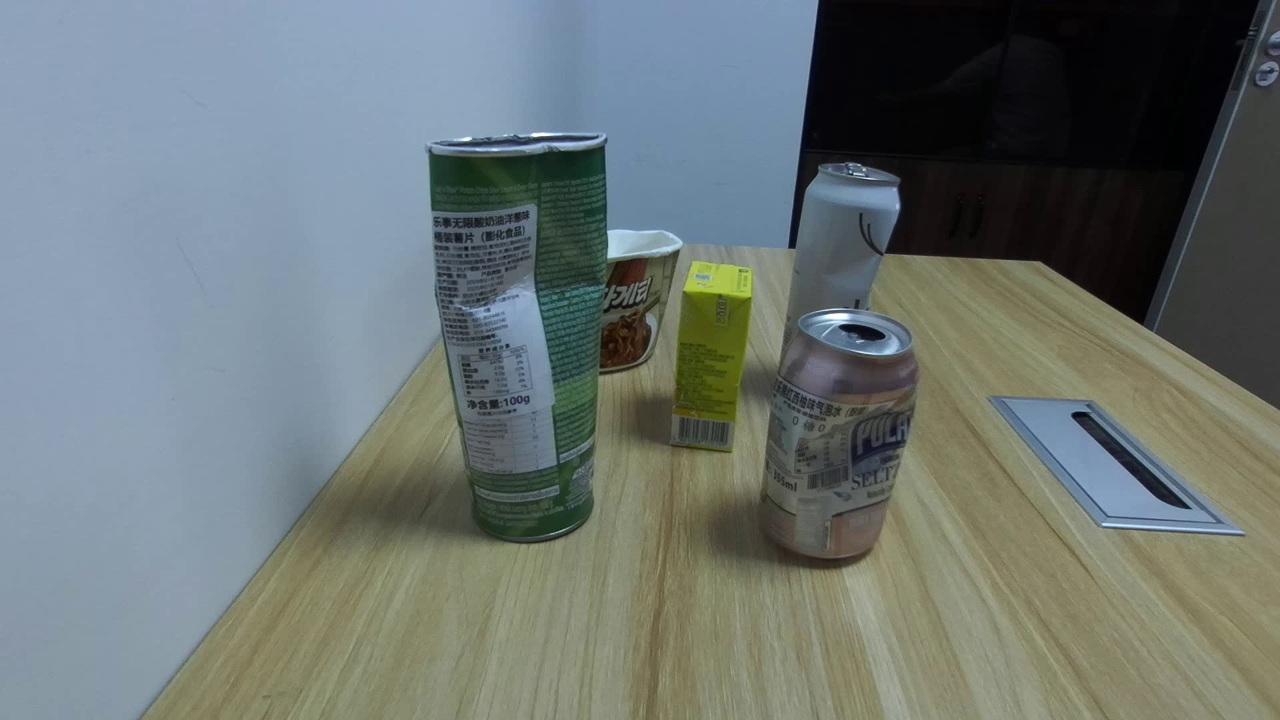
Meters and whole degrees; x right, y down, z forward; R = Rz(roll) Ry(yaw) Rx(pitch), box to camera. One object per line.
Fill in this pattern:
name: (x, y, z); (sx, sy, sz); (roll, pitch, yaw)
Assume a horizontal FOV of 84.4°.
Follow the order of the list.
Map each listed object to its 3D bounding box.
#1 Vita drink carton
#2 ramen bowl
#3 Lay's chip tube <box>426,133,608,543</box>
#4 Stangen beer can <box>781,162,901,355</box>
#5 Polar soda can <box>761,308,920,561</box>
Vita drink carton: (0.049, -0.005, 0.465); (0.043, 0.109, 0.076); (6, 26, 9)
ramen bowl: (-0.031, -0.056, 0.579); (0.134, 0.097, 0.113); (-5, 27, -13)
Lay's chip tube: (-0.055, -0.007, 0.359); (0.069, 0.199, 0.075); (5, 24, 6)
Stangen beer can: (0.143, -0.051, 0.503); (0.070, 0.173, 0.069); (-16, 31, -36)
Polar soda can: (0.102, 0.040, 0.362); (0.074, 0.122, 0.067); (6, 27, 7)
